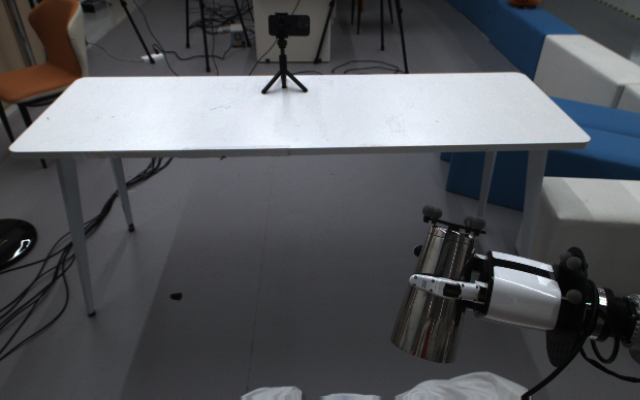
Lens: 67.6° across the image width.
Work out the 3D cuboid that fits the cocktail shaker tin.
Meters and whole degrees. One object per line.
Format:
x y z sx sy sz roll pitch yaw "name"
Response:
0.163 0.124 0.671 0.093 0.170 0.093 15 2 0 "cocktail shaker tin"
